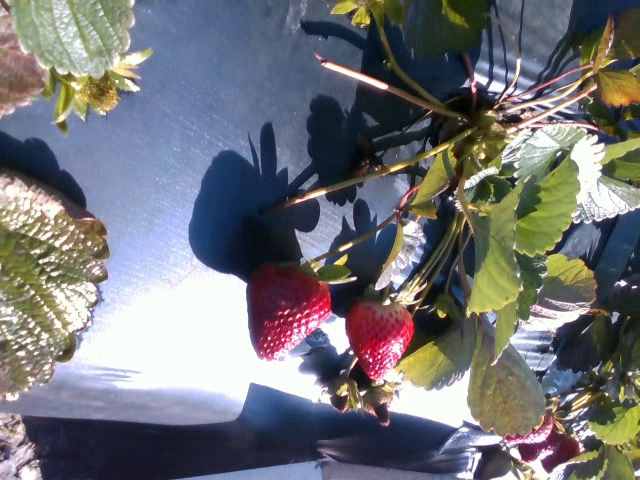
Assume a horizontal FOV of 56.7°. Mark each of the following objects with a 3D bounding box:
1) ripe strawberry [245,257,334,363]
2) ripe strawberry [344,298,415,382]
[{"bbox_3d":[-0.018,0.036,0.269,0.044,0.050,0.050,13,-16,29],"label":"ripe strawberry"},{"bbox_3d":[0.032,0.055,0.319,0.042,0.049,0.039,4,1,-4],"label":"ripe strawberry"}]
